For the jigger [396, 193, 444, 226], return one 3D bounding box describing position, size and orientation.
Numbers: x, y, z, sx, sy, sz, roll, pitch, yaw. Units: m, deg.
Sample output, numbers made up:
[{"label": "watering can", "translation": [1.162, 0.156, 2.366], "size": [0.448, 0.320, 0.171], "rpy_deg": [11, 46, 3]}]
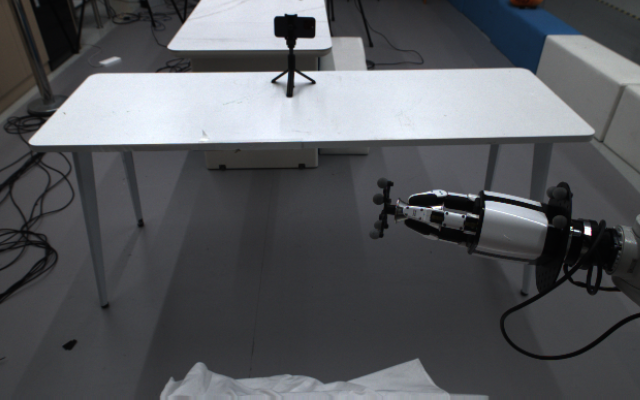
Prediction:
[{"label": "jigger", "translation": [0.155, 0.017, 0.724], "size": [0.071, 0.043, 0.043], "rpy_deg": [8, 35, 15]}]
